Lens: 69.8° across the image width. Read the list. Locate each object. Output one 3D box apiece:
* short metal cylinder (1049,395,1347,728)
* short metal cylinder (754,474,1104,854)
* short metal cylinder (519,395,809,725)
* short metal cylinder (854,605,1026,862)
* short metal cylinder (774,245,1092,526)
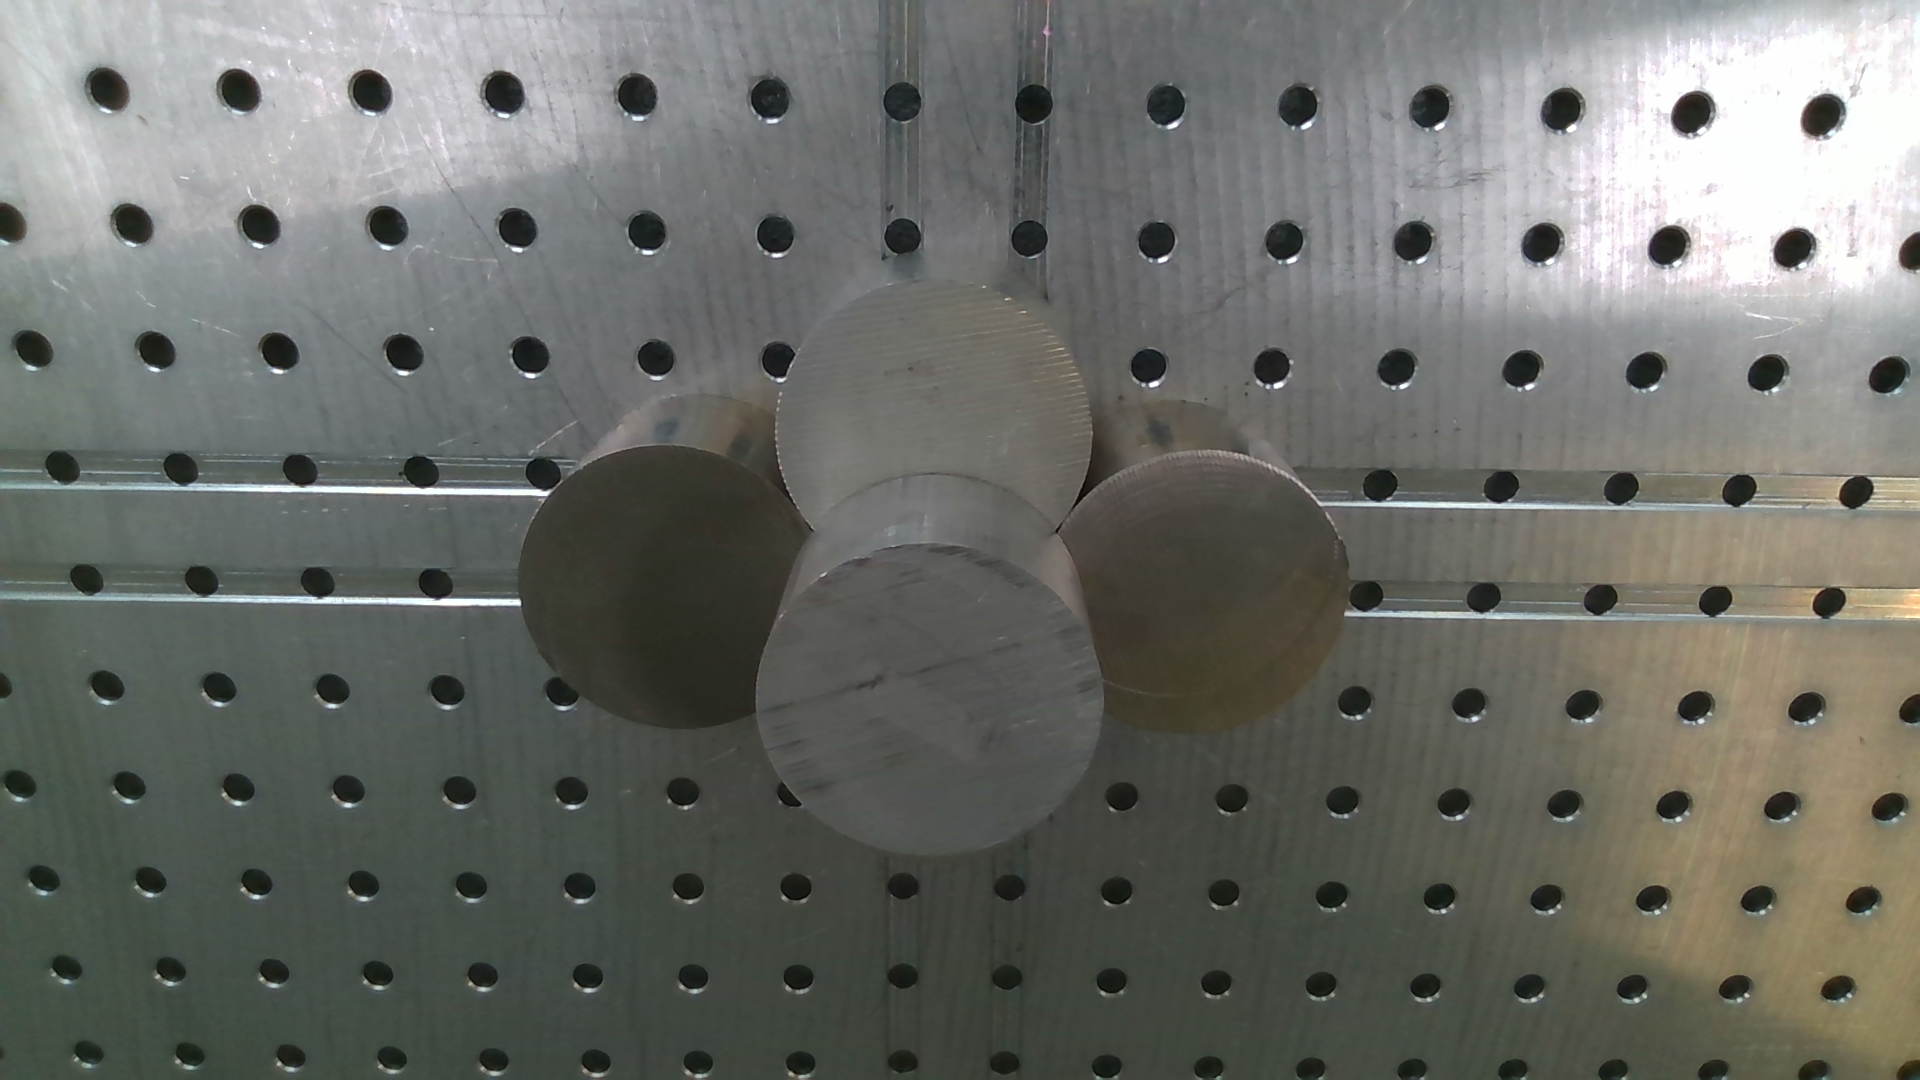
[{"bbox_3d":[0.061,0.005,0.384,0.080,0.050,0.080,0,111,0],"label":"short metal cylinder"},{"bbox_3d":[-0.007,0.029,0.339,0.080,0.050,0.080,0,110,0],"label":"short metal cylinder"},{"bbox_3d":[-0.076,0.004,0.383,0.080,0.050,0.080,-1,110,-2],"label":"short metal cylinder"},{"bbox_3d":[-0.007,0.045,0.398,0.080,0.050,0.080,0,110,0],"label":"short metal cylinder"},{"bbox_3d":[-0.007,-0.035,0.369,0.080,0.050,0.080,0,110,0],"label":"short metal cylinder"}]
